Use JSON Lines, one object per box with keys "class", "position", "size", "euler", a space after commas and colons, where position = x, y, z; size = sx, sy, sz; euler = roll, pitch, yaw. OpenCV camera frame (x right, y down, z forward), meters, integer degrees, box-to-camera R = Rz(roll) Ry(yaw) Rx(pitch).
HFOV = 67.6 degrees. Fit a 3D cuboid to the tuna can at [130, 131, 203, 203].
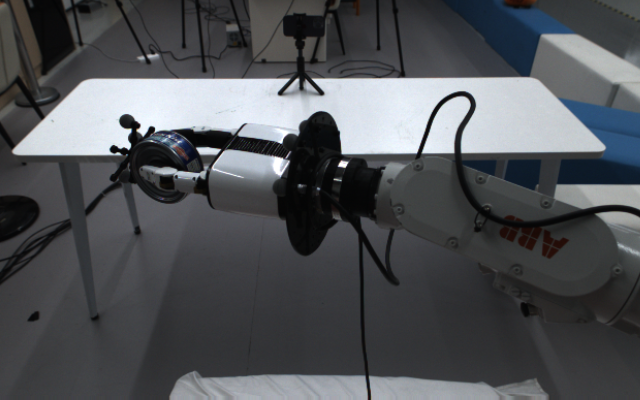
{"class": "tuna can", "position": [-0.185, -0.036, 0.586], "size": [0.085, 0.085, 0.034], "euler": [13, 31, 15]}
